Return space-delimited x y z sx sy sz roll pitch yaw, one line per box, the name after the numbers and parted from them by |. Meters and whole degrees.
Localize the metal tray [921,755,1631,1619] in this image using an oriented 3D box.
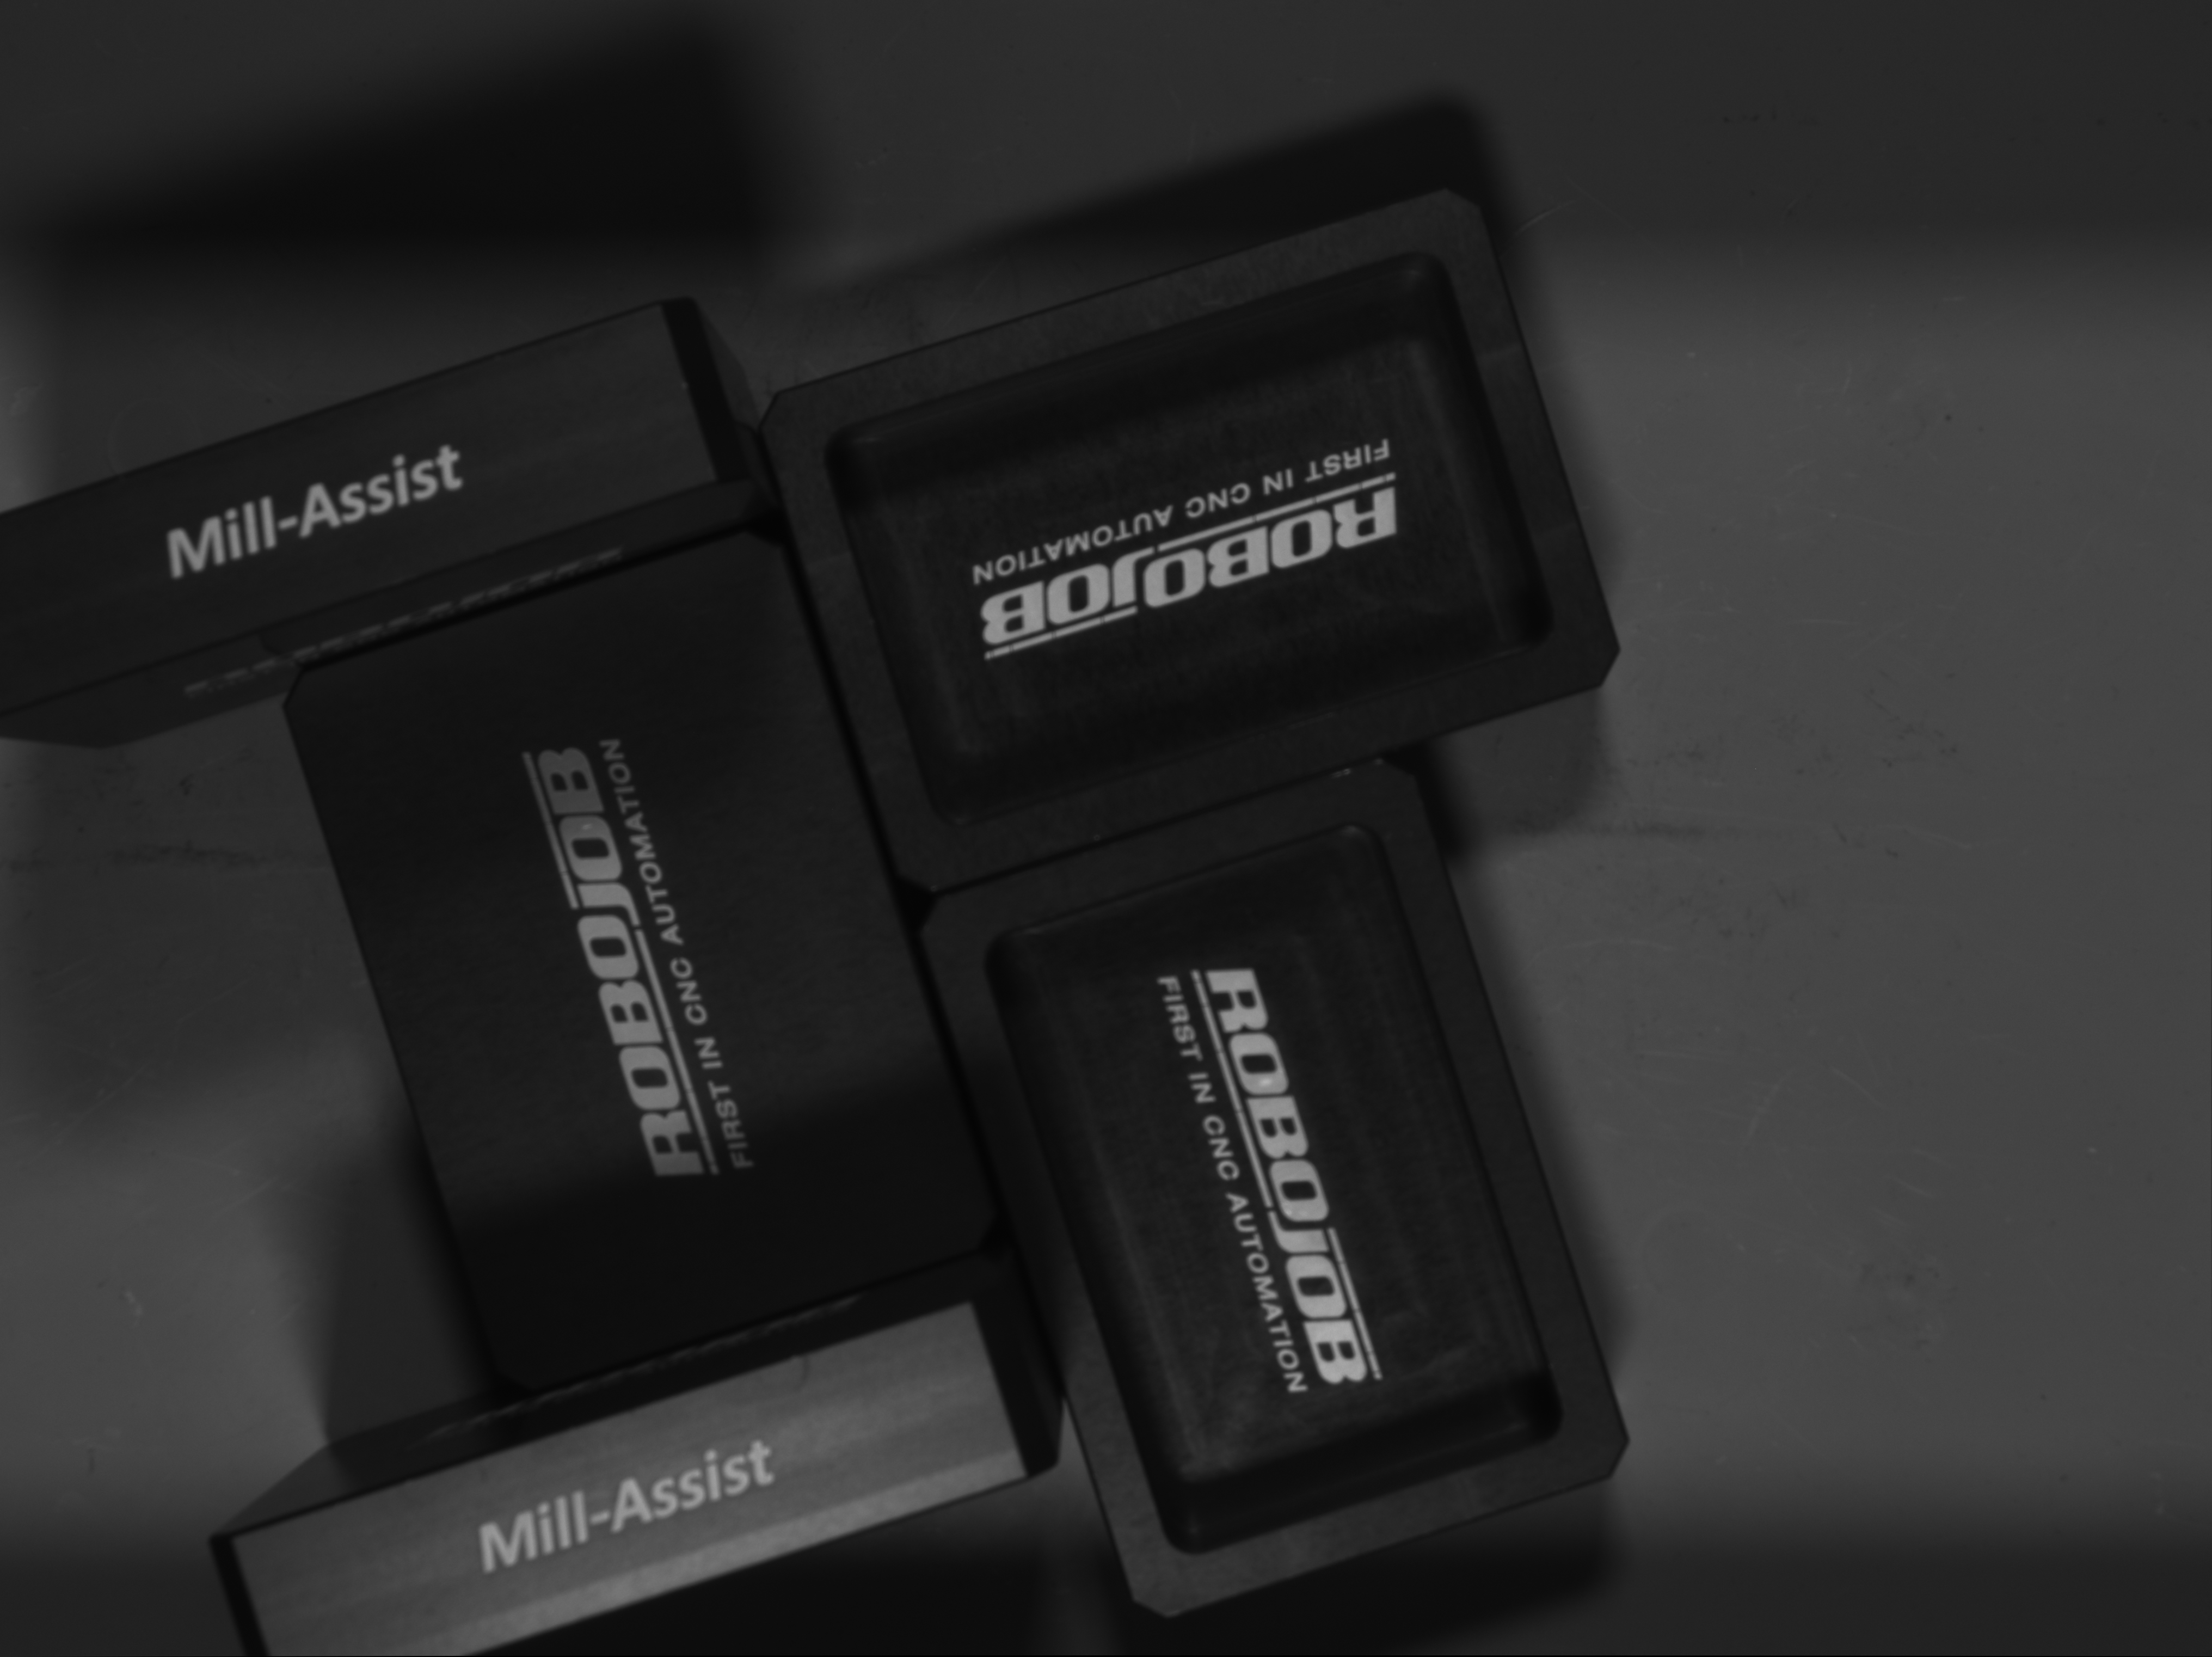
0.029 0.061 0.641 0.090 0.030 0.130 -17 90 -1 | metal tray

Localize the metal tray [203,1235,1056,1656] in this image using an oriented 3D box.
-0.074 0.105 0.609 0.130 0.090 0.030 -17 90 0 | metal tray

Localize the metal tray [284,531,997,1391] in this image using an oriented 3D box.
-0.080 0.023 0.639 0.090 0.030 0.130 -17 90 -1 | metal tray

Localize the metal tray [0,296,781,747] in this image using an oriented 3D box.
-0.123 -0.049 0.608 0.130 0.090 0.030 -18 90 0 | metal tray

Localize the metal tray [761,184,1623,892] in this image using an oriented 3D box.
0.015 -0.050 0.641 0.130 0.030 0.090 -17 90 -1 | metal tray
